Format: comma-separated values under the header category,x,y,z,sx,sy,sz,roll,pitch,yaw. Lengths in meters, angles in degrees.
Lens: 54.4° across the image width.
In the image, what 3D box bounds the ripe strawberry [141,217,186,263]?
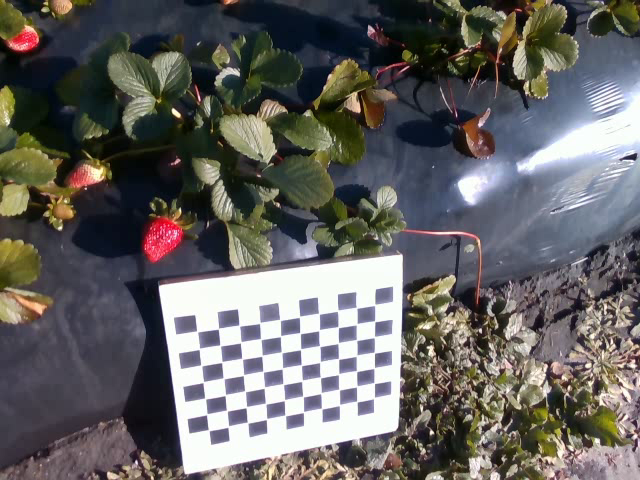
category,x,y,z,sx,sy,sz,roll,pitch,yaw
ripe strawberry,-0.176,0.003,0.677,0.065,0.062,0.058,35,-52,-27
